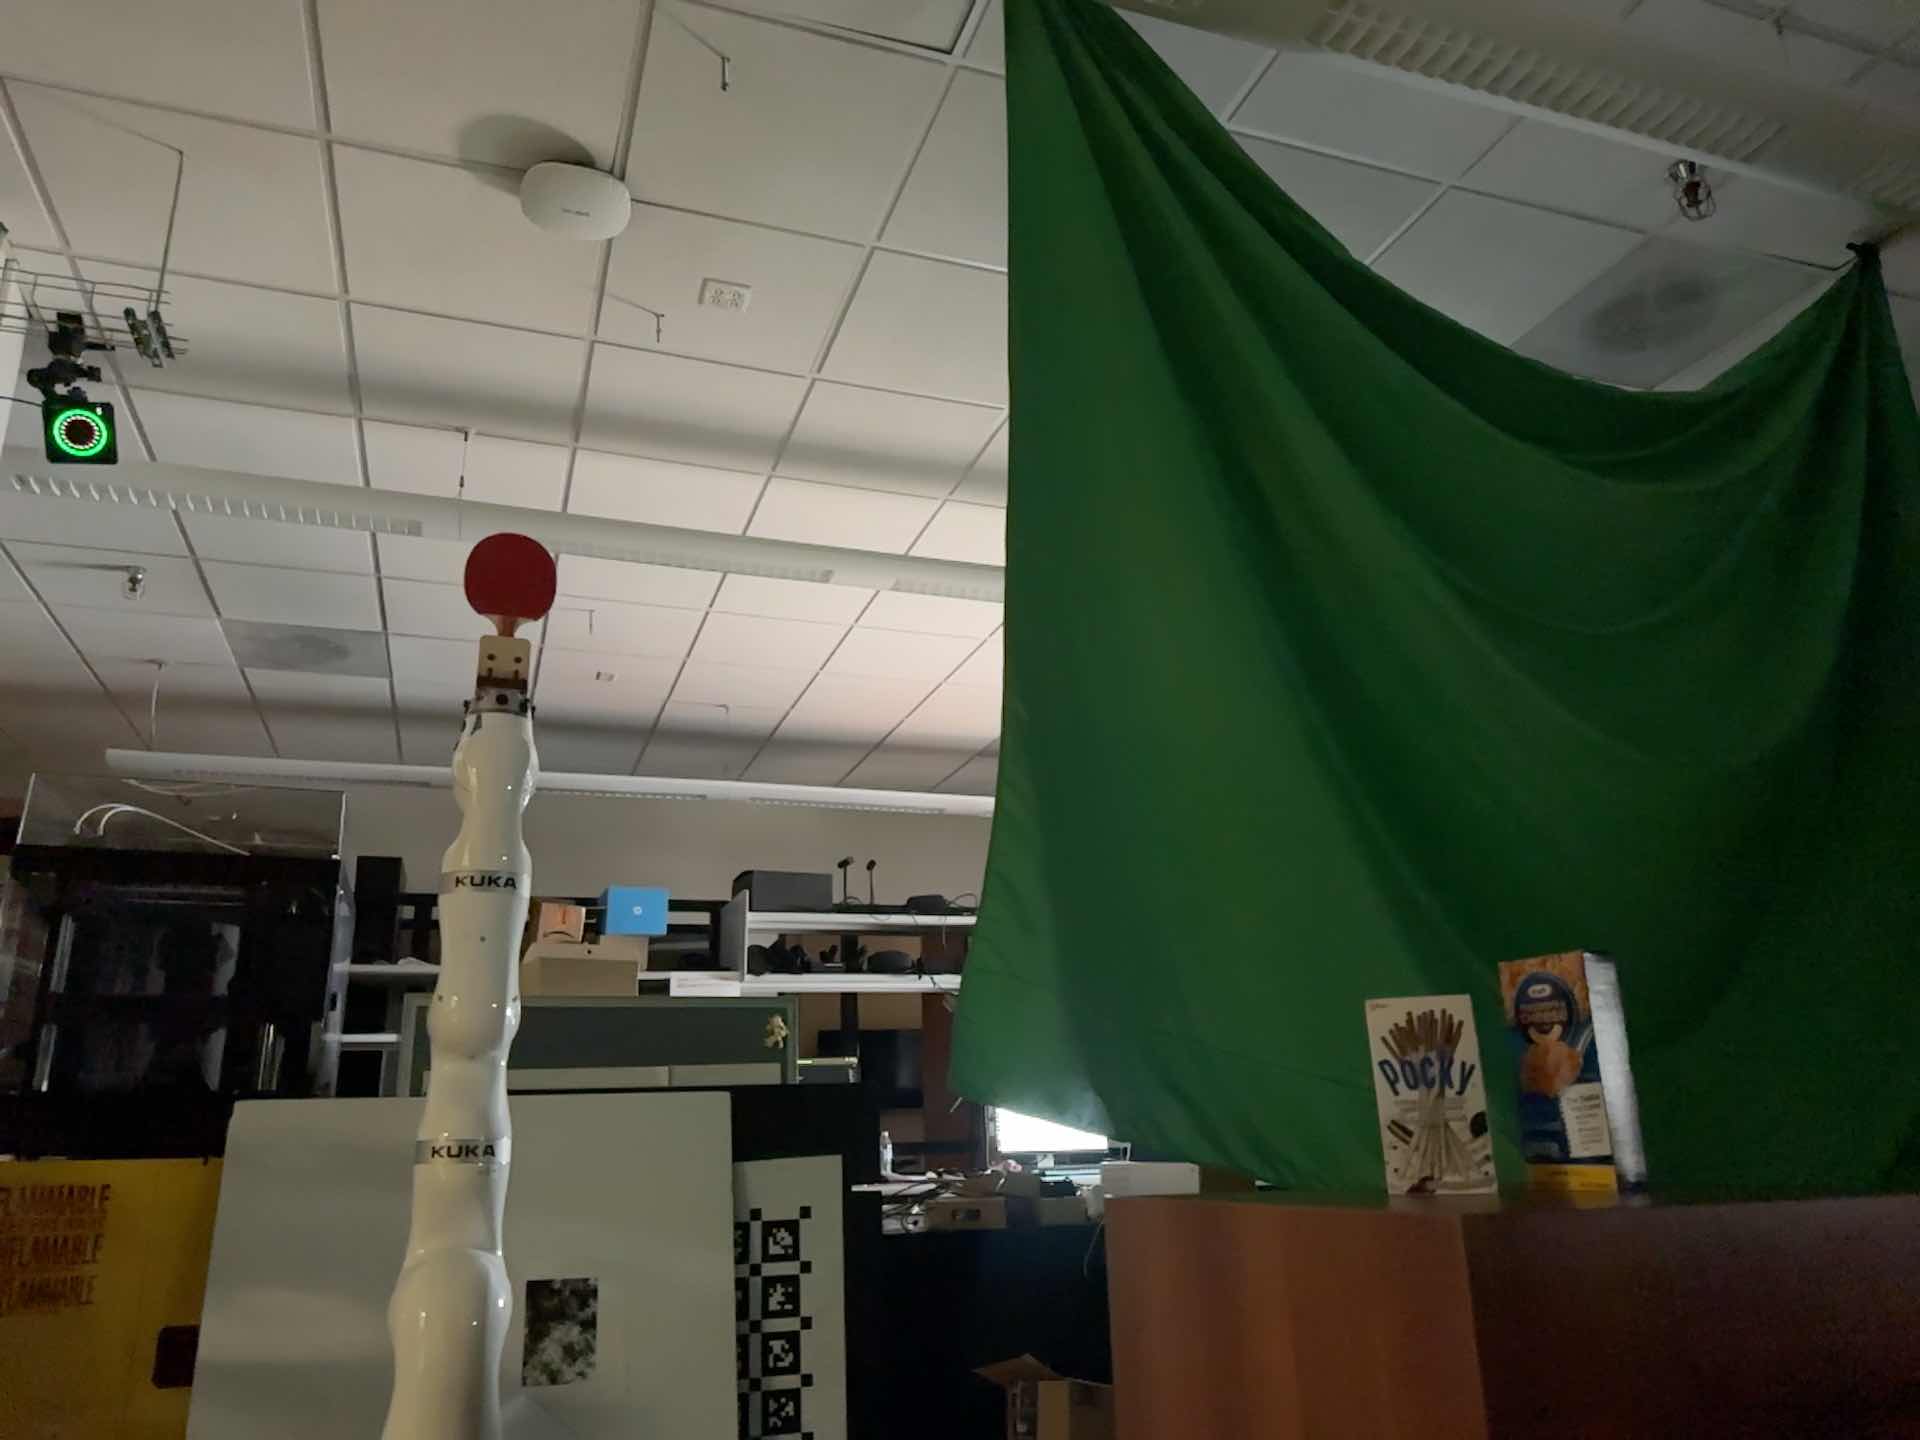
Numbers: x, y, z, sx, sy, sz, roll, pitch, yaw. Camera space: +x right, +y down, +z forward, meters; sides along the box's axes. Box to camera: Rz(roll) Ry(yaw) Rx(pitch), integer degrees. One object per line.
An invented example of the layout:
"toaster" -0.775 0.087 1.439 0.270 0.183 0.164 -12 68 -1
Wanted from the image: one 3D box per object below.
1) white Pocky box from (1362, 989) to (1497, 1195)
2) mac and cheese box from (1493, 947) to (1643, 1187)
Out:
"white Pocky box" 0.370 0.294 1.064 0.084 0.154 0.028 -7 -16 19
"mac and cheese box" 0.493 0.282 1.096 0.035 0.181 0.088 7 -18 -25
